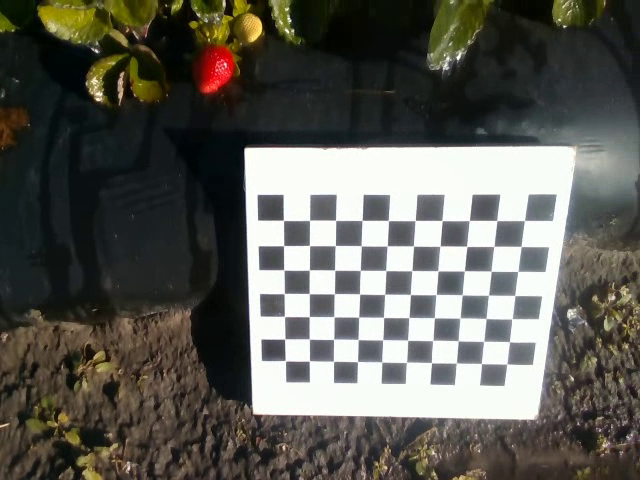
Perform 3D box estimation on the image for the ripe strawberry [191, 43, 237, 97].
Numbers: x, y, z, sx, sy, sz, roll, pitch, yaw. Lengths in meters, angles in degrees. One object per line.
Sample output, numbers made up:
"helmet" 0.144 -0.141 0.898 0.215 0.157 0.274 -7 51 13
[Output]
"ripe strawberry" -0.076 -0.110 0.424 0.039 0.040 0.039 -6 43 15
